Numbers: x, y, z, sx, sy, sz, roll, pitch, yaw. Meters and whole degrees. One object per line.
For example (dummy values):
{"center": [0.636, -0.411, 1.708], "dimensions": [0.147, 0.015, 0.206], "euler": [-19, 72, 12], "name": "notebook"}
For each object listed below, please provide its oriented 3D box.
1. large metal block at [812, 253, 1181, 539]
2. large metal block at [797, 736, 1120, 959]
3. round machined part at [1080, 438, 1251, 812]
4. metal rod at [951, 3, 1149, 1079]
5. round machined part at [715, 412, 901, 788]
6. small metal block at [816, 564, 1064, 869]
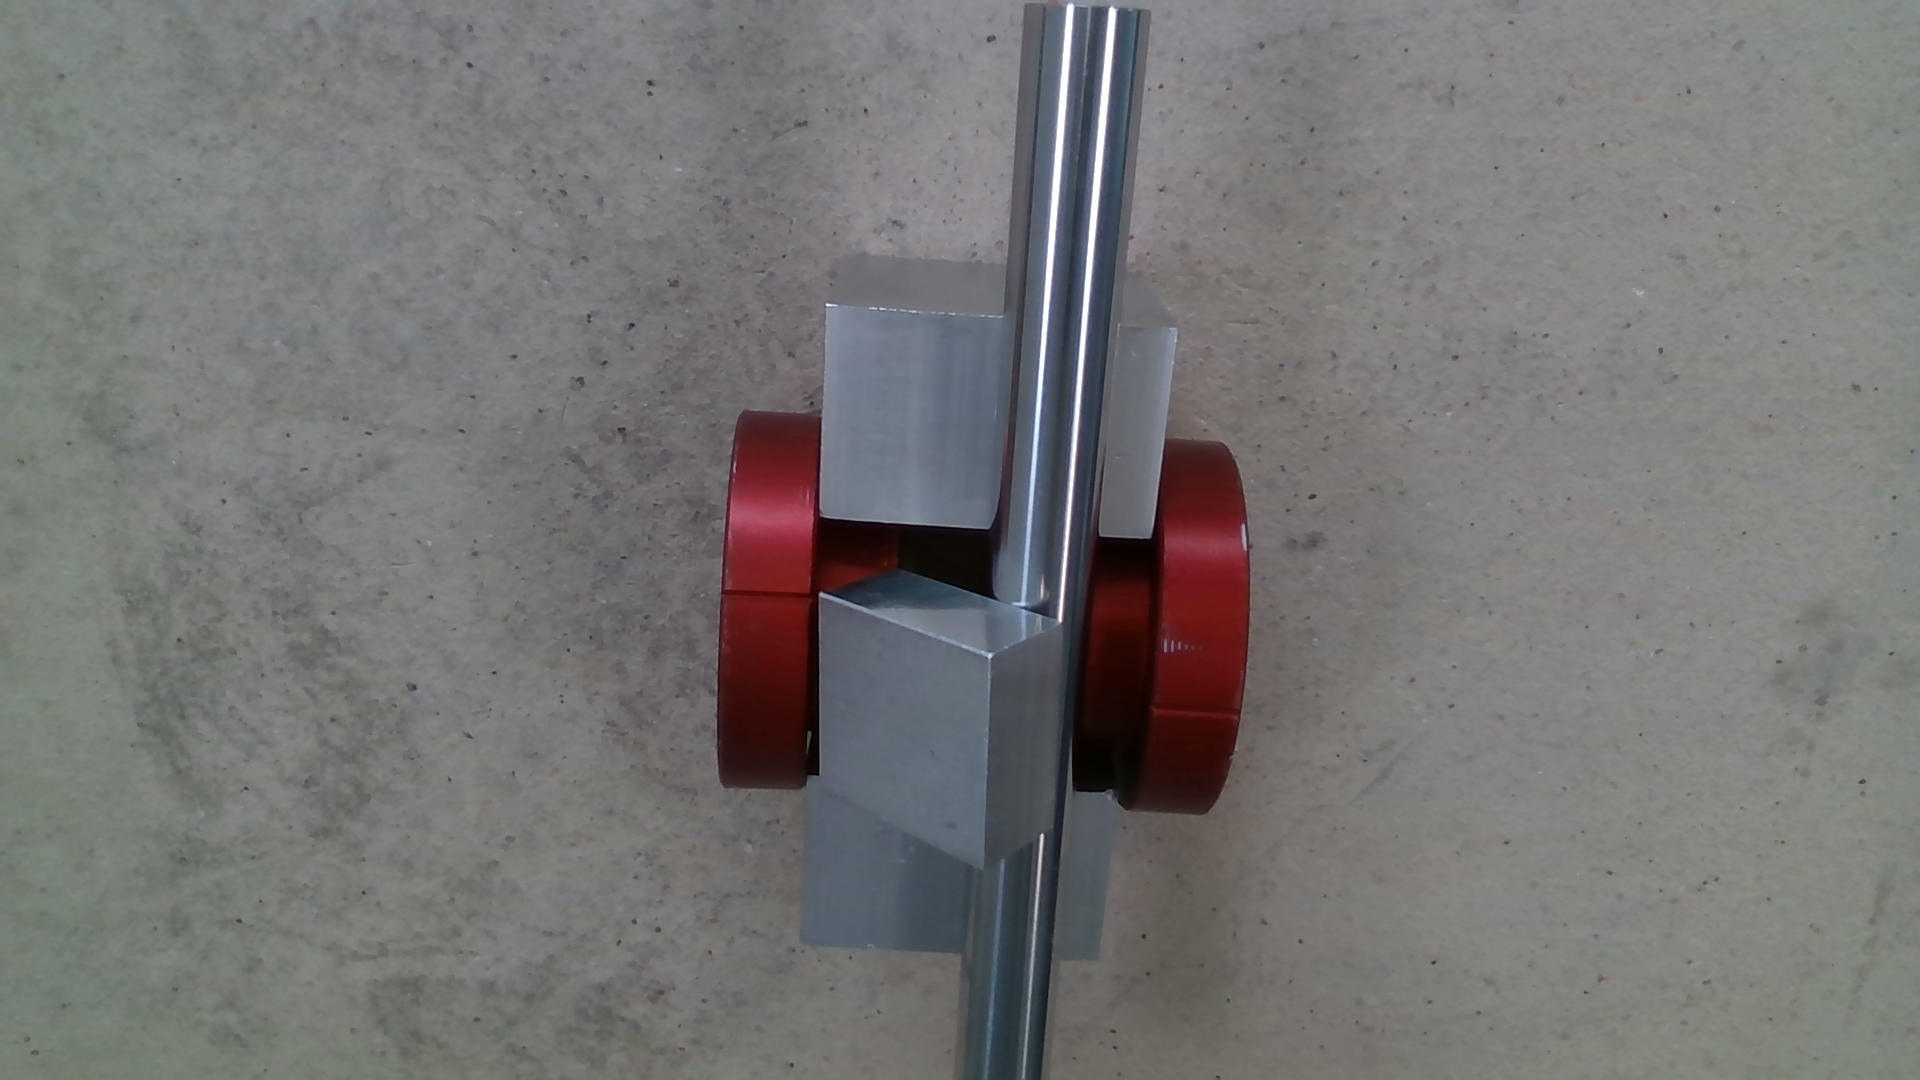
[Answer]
{"center": [0.007, -0.040, 0.350], "dimensions": [0.080, 0.080, 0.050], "euler": [4, 110, -1], "name": "large metal block"}
{"center": [-0.001, 0.071, 0.391], "dimensions": [0.080, 0.080, 0.050], "euler": [3, 110, -1], "name": "large metal block"}
{"center": [0.045, 0.021, 0.363], "dimensions": [0.042, 0.098, 0.098], "euler": [4, 110, -1], "name": "round machined part"}
{"center": [0.016, 0.036, 0.322], "dimensions": [0.025, 0.025, 0.301], "euler": [3, 110, -1], "name": "metal rod"}
{"center": [-0.039, 0.016, 0.360], "dimensions": [0.042, 0.098, 0.098], "euler": [3, 110, -6], "name": "round machined part"}
{"center": [-0.006, 0.038, 0.308], "dimensions": [0.050, 0.025, 0.050], "euler": [16, 113, 37], "name": "small metal block"}
